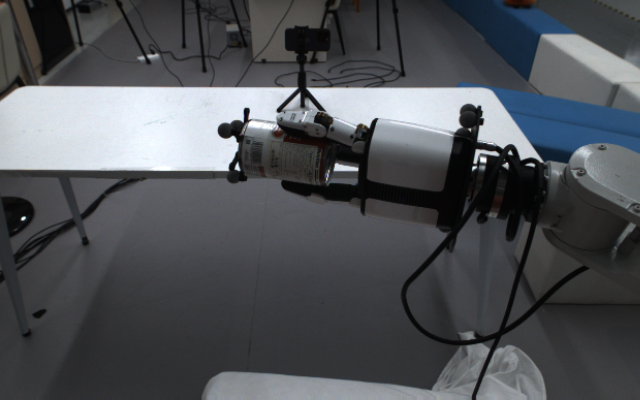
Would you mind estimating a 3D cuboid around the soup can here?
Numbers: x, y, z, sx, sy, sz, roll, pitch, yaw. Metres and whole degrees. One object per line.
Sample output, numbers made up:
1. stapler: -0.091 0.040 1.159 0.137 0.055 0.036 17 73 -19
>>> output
1. soup can: -0.034 -0.056 0.565 0.101 0.067 0.067 9 35 9
